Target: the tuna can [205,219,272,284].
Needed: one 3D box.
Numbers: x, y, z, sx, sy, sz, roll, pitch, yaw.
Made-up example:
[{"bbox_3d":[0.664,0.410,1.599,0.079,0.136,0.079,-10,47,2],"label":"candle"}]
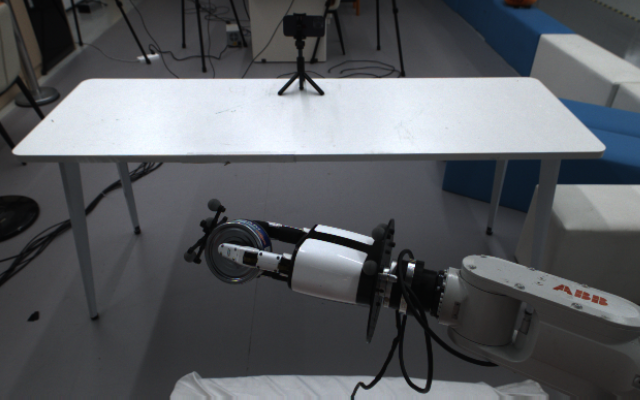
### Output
[{"bbox_3d":[-0.107,0.072,0.646,0.085,0.085,0.034,9,5,10],"label":"tuna can"}]
